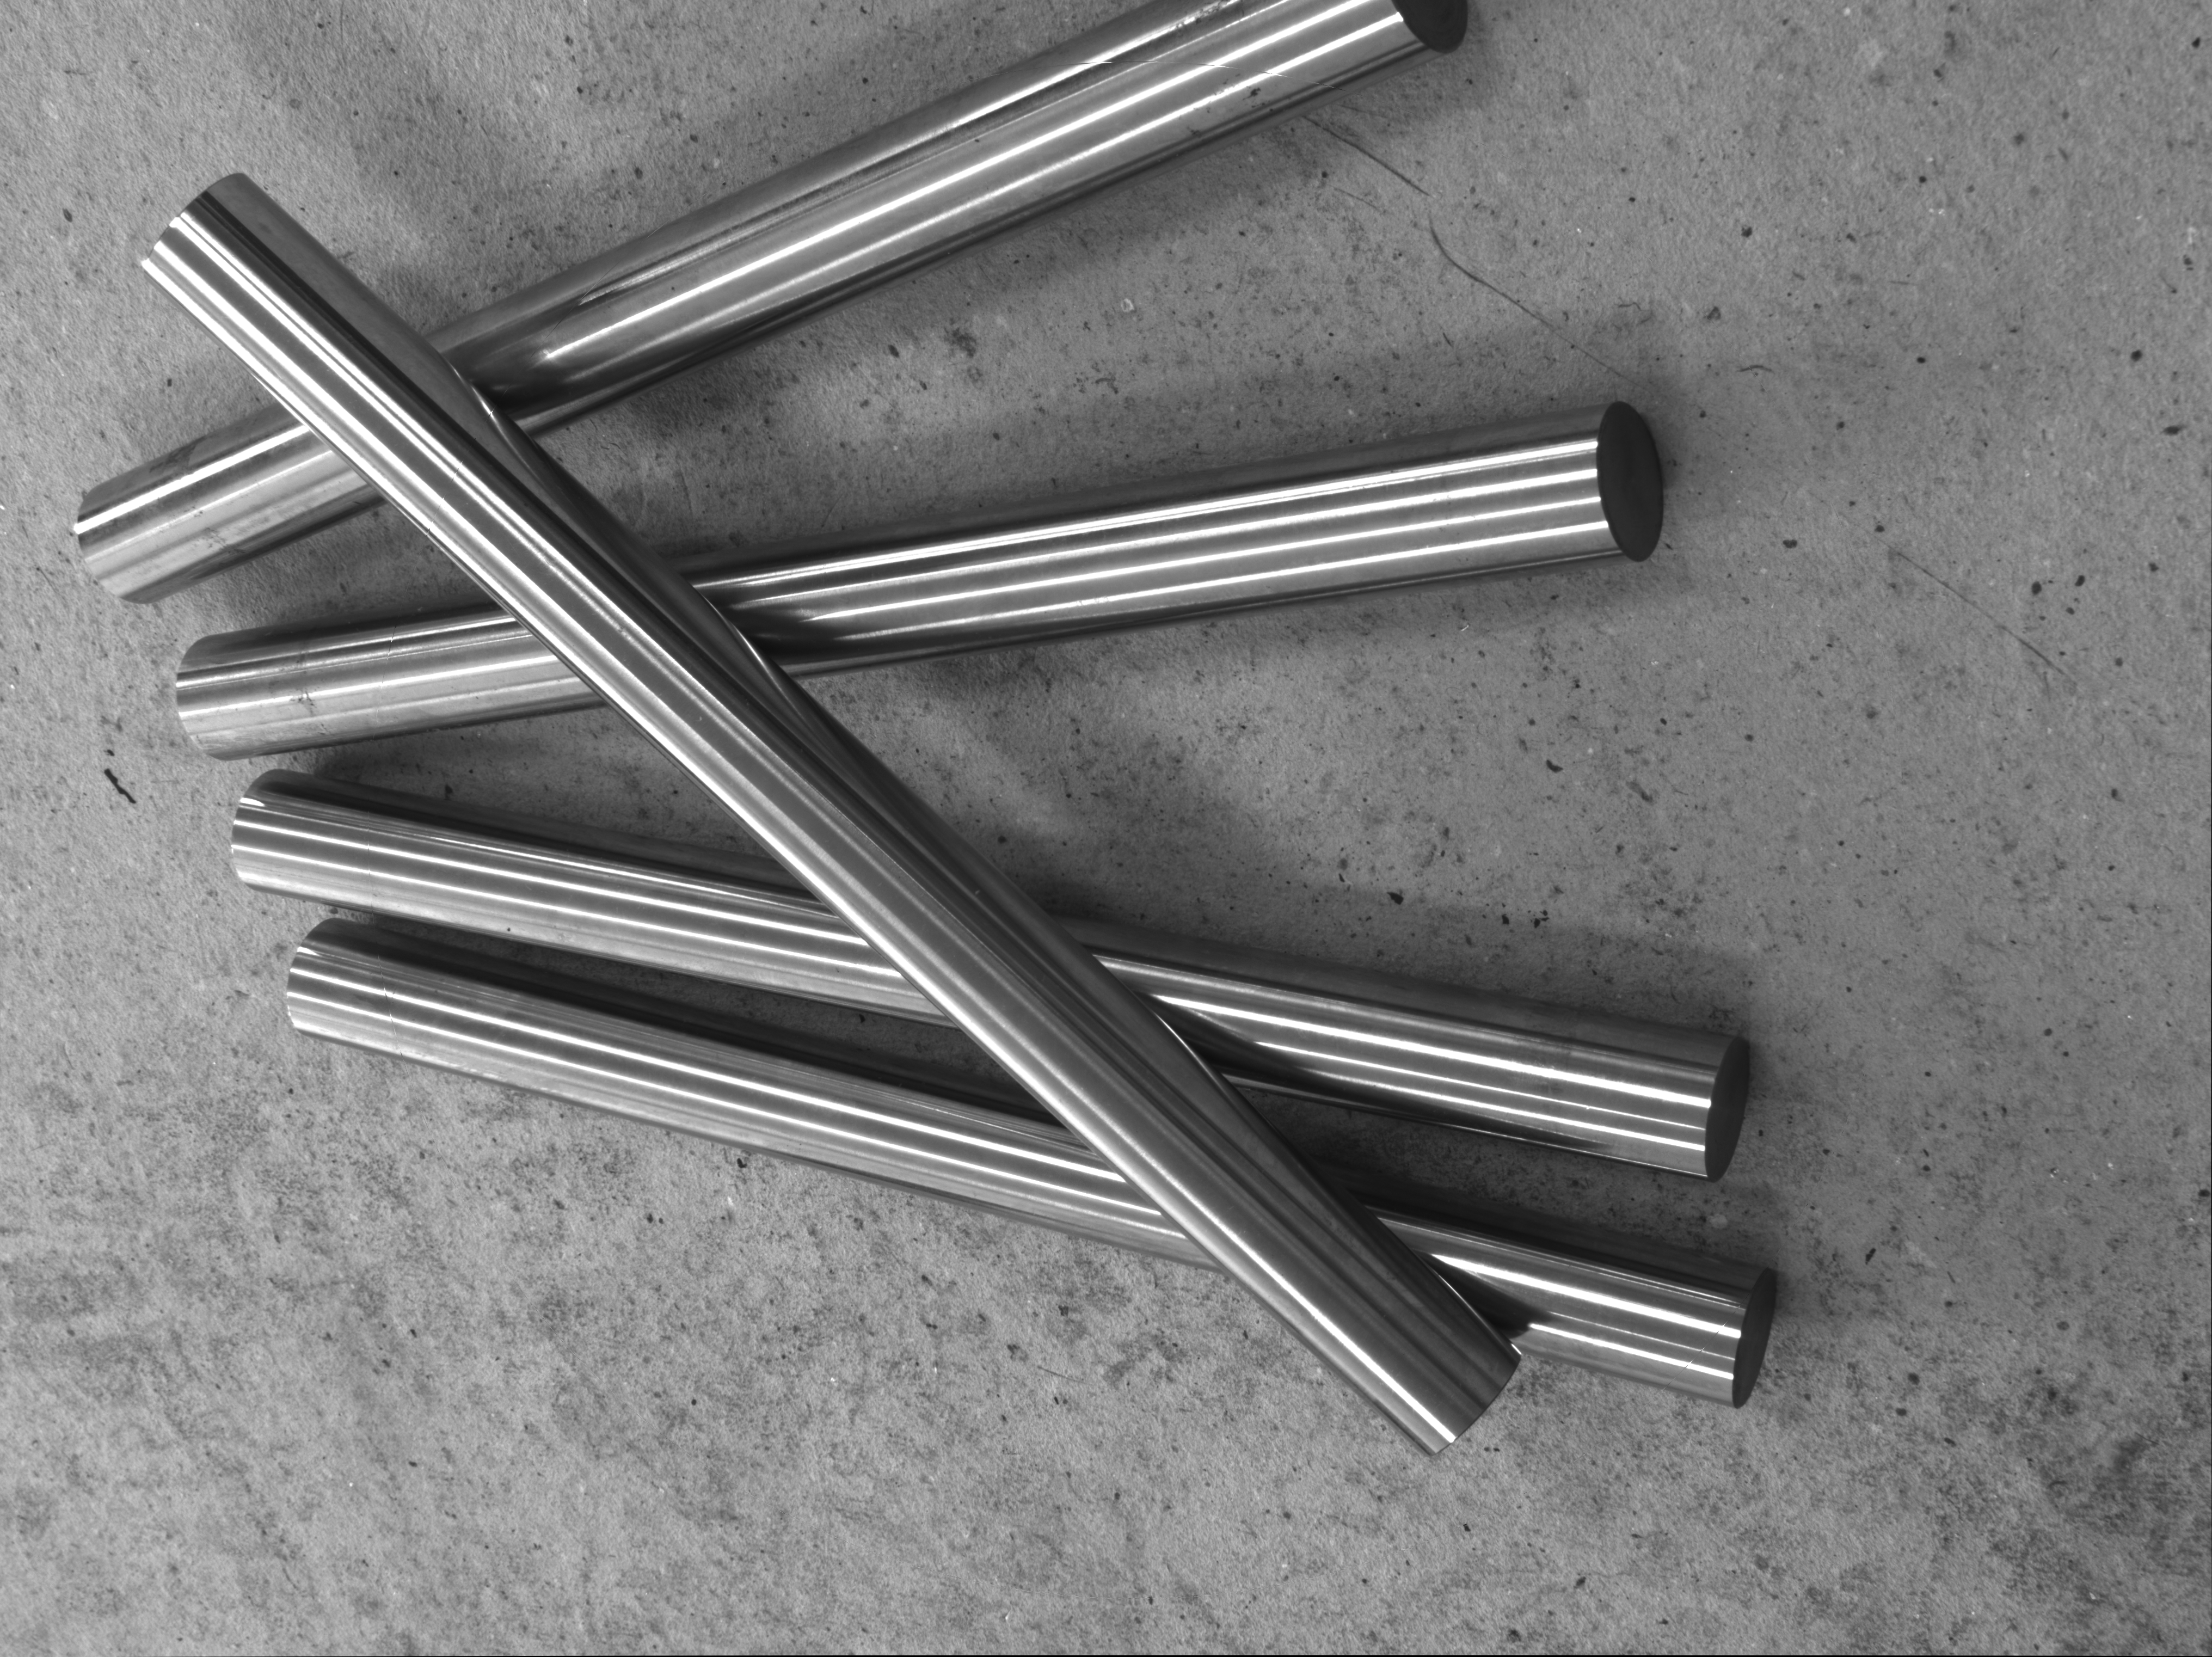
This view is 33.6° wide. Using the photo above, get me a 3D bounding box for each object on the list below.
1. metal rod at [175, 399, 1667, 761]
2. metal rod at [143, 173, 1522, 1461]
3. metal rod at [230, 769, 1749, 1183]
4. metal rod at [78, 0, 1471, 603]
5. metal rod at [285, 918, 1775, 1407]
[{"bbox_3d":[-0.046,-0.040,0.643,0.299,0.025,0.025,-6,115,31],"label":"metal rod"},{"bbox_3d":[-0.047,-0.002,0.634,0.300,0.025,0.025,43,129,-1],"label":"metal rod"},{"bbox_3d":[-0.031,0.024,0.674,0.299,0.025,0.025,10,123,23],"label":"metal rod"},{"bbox_3d":[-0.071,-0.091,0.626,0.299,0.025,0.025,-17,109,34],"label":"metal rod"},{"bbox_3d":[-0.023,0.059,0.691,0.299,0.025,0.025,12,123,22],"label":"metal rod"}]
